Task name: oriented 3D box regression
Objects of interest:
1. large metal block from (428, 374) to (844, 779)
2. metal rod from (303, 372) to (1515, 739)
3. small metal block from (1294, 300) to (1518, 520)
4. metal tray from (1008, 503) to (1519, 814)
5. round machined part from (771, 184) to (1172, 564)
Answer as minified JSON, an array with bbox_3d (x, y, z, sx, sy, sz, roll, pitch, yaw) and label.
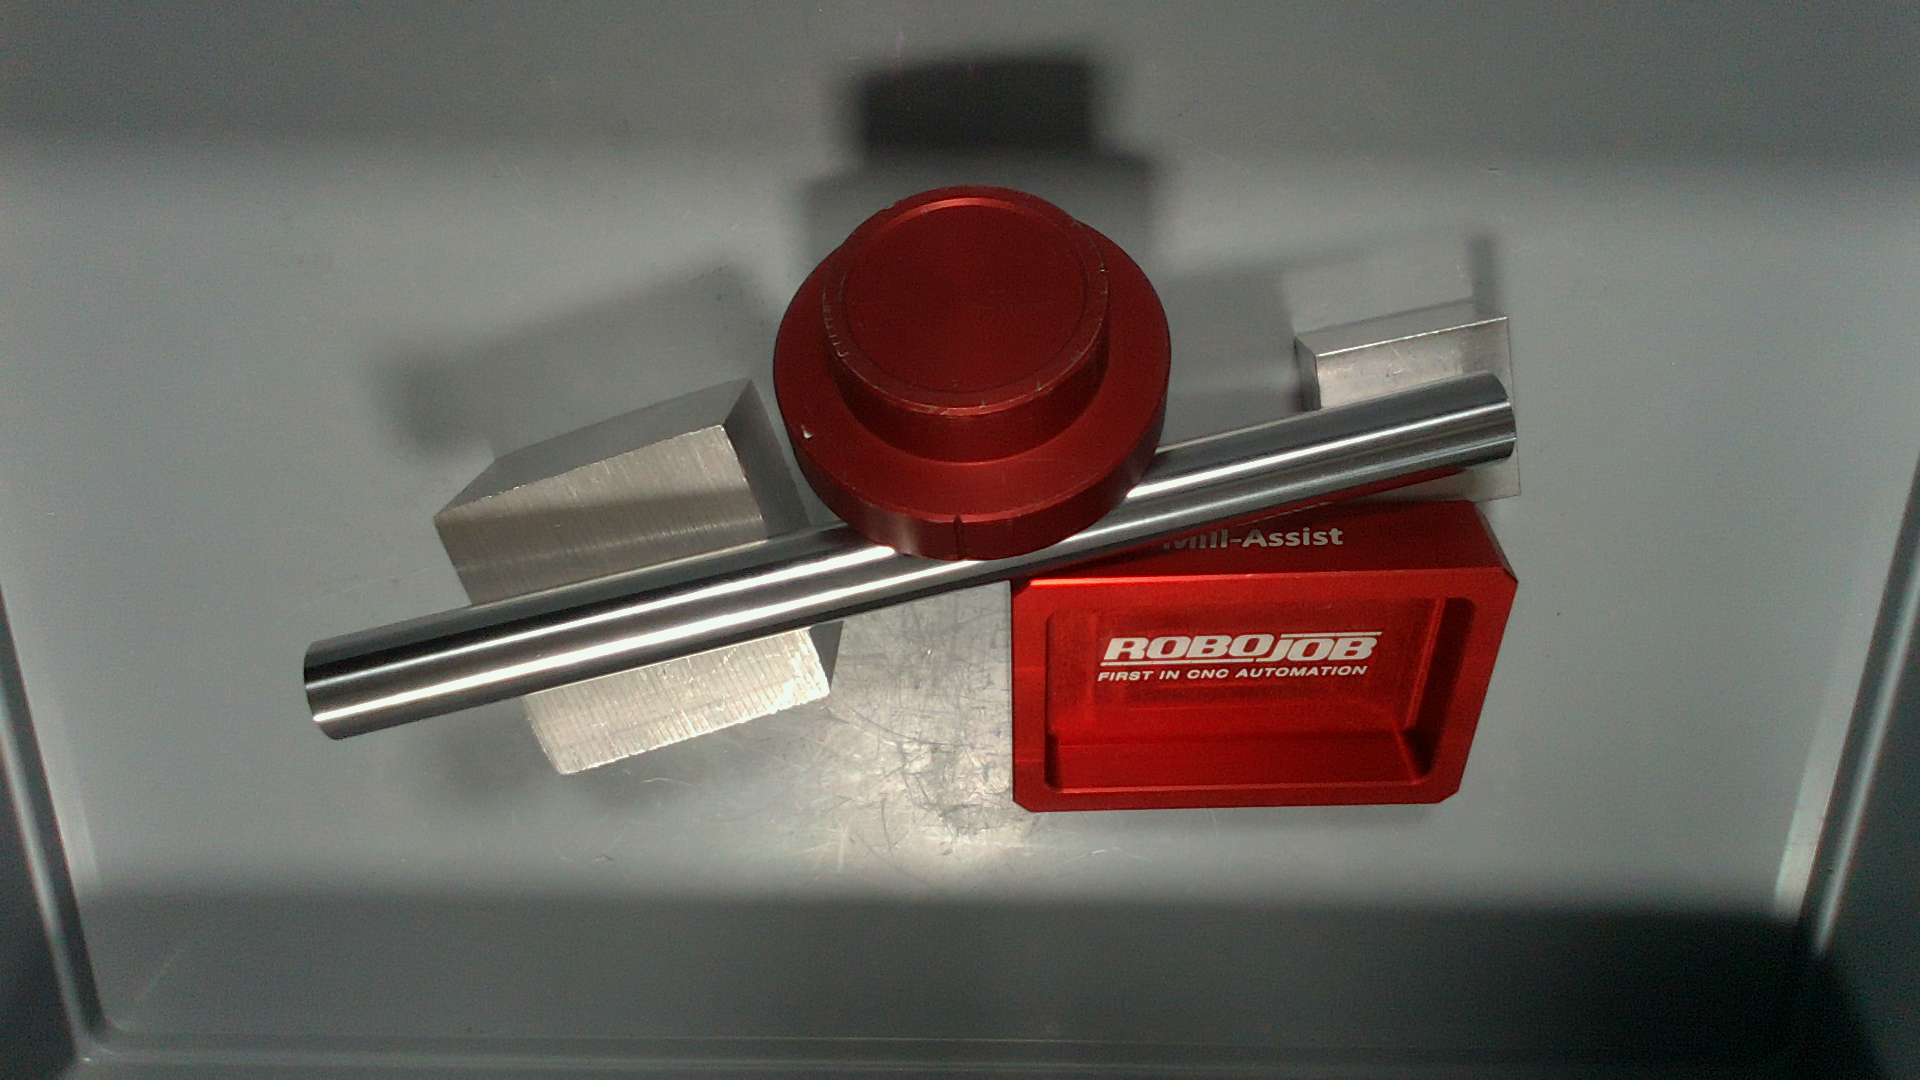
[{"bbox_3d":[-0.084,0.009,0.382,0.080,0.050,0.080,-17,109,6],"label":"large metal block"},{"bbox_3d":[-0.009,0.003,0.346,0.300,0.025,0.025,-13,110,-3],"label":"metal rod"},{"bbox_3d":[0.123,-0.035,0.380,0.050,0.025,0.050,-11,110,4],"label":"small metal block"},{"bbox_3d":[0.079,0.035,0.389,0.130,0.030,0.090,-2,130,0],"label":"metal tray"},{"bbox_3d":[0.002,-0.047,0.334,0.098,0.098,0.042,-4,151,1],"label":"round machined part"}]
